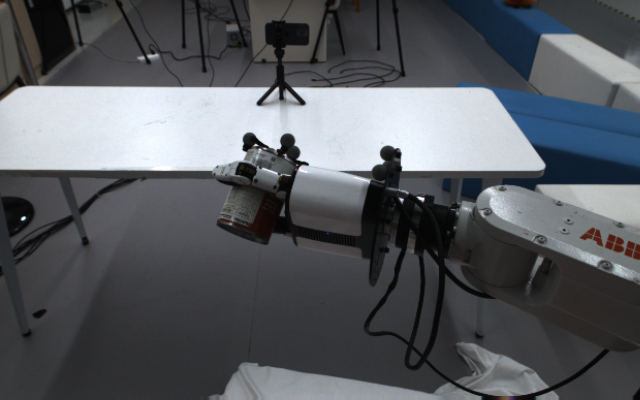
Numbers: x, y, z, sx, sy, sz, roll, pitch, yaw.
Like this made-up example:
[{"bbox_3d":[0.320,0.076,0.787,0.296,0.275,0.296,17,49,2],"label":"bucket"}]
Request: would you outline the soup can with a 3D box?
[{"bbox_3d":[-0.076,-0.007,0.585,0.067,0.067,0.101,16,75,19],"label":"soup can"}]
